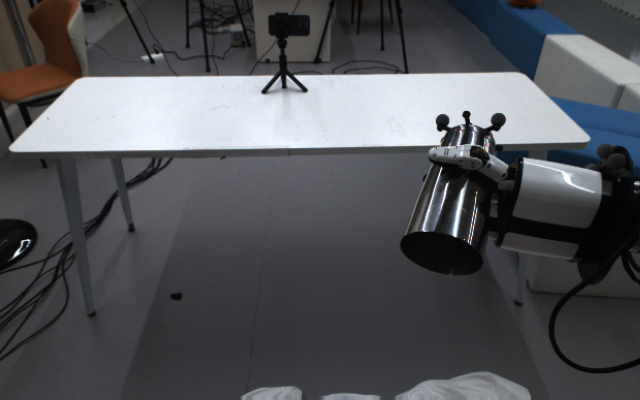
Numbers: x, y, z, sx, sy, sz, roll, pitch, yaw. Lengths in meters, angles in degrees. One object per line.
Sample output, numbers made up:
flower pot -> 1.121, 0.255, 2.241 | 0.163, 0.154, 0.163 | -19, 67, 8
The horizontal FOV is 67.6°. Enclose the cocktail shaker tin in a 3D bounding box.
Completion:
cocktail shaker tin -> 0.162, -0.009, 0.575 | 0.093, 0.093, 0.170 | 14, 57, 16
